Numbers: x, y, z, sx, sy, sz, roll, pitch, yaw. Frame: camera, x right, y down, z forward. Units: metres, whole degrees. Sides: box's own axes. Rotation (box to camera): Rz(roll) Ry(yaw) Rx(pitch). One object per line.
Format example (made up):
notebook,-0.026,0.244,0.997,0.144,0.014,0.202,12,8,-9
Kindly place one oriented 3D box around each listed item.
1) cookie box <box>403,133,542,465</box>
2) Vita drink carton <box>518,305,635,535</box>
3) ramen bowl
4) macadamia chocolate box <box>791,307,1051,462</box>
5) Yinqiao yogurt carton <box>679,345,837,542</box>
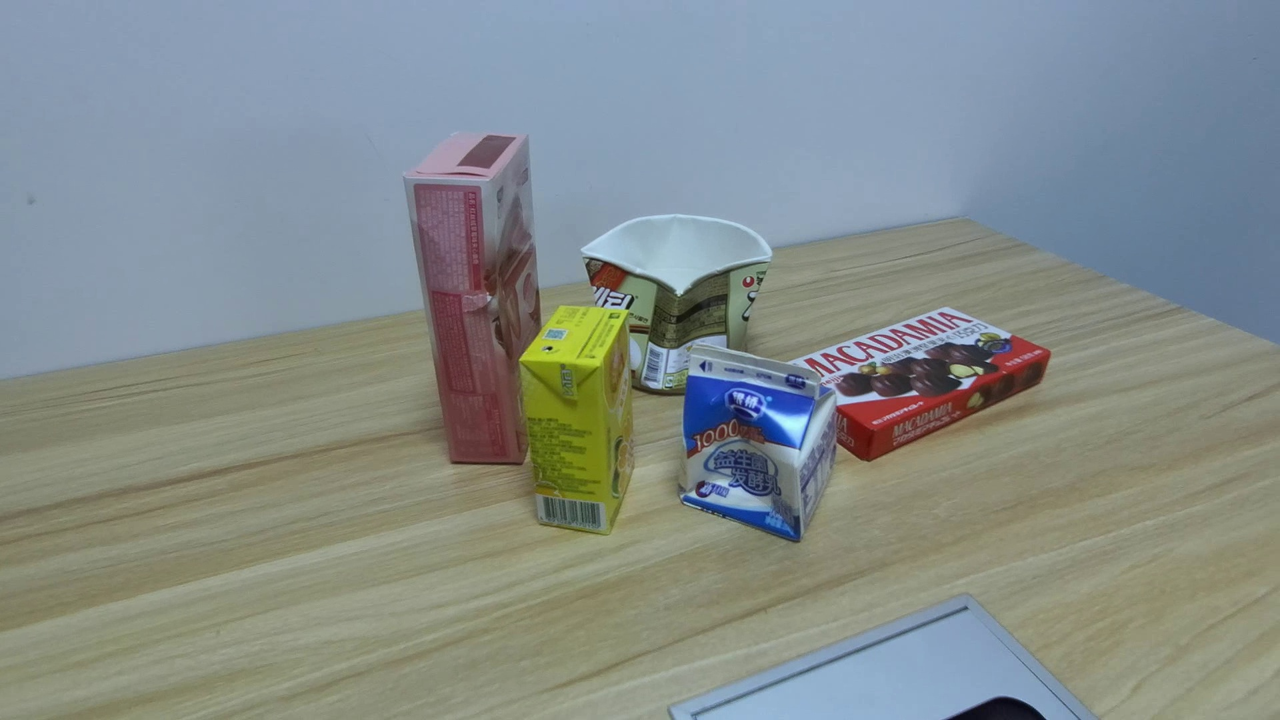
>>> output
cookie box,-0.094,-0.035,0.434,0.049,0.188,0.105,1,30,2
Vita drink carton,-0.031,0.032,0.392,0.043,0.109,0.066,4,30,11
ramen bowl,0.033,-0.047,0.535,0.137,0.098,0.137,1,30,0
macadamia chocolate box,0.195,0.010,0.506,0.178,0.027,0.095,-17,34,-25
Yinqiao yogurt carton,0.066,0.036,0.392,0.077,0.094,0.071,13,38,26
